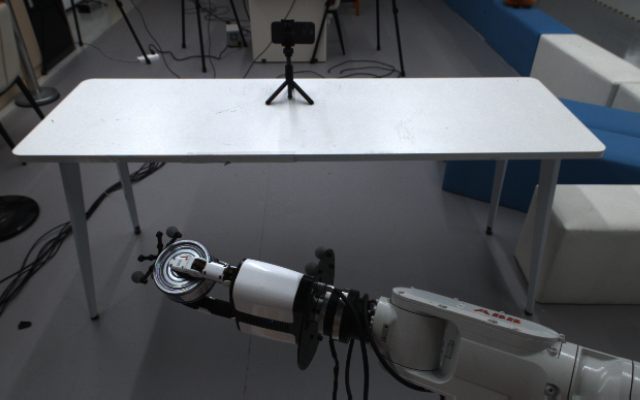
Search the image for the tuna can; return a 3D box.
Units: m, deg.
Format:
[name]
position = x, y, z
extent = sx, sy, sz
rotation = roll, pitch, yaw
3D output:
[tuna can]
position = -0.187, 0.100, 0.684
extent = 0.085, 0.034, 0.085
rotation = -3, 60, 6
